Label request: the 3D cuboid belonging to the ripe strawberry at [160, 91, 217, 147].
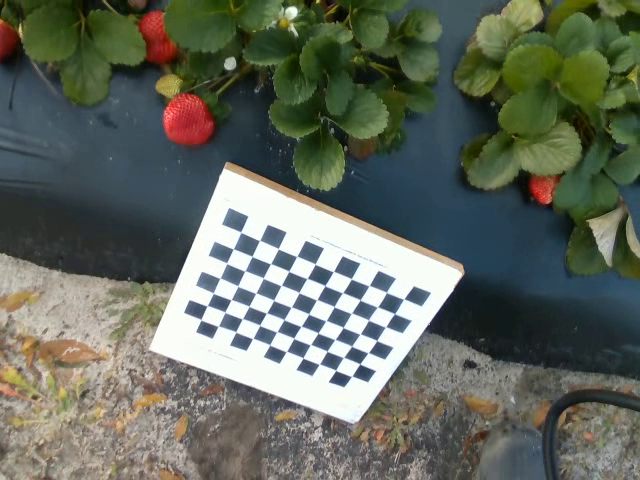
[{"bbox_3d":[-0.060,-0.050,0.268,0.022,0.025,0.030,22,39,19],"label":"ripe strawberry"}]
